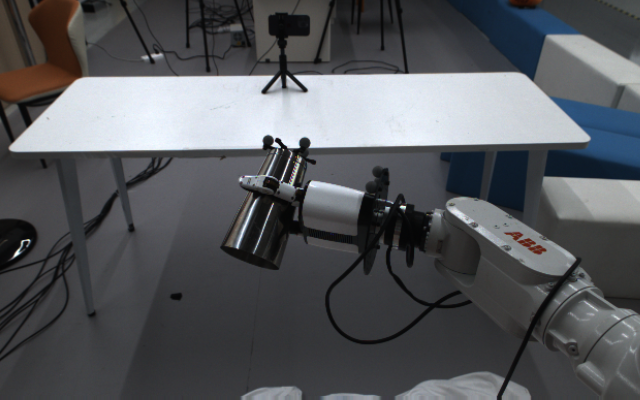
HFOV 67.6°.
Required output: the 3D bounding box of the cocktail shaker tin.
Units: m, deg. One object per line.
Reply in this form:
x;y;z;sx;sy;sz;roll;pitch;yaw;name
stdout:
-0.079;0.009;0.735;0.093;0.093;0.170;13;70;16;cocktail shaker tin
